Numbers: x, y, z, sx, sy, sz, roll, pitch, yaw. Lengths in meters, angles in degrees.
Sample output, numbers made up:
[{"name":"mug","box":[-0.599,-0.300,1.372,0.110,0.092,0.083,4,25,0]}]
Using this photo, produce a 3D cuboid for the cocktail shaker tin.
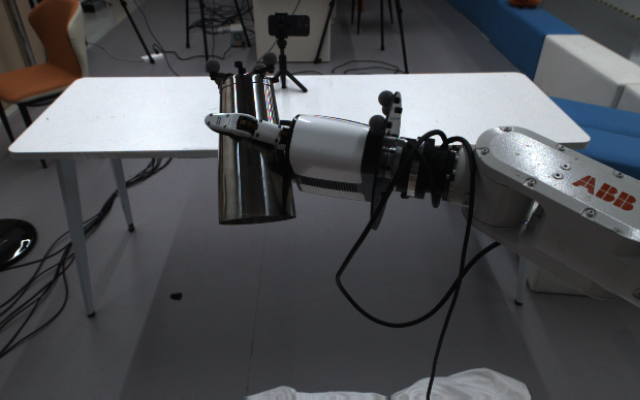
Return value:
[{"name":"cocktail shaker tin","box":[-0.082,-0.059,0.584,0.093,0.170,0.093,-6,-7,-1]}]
